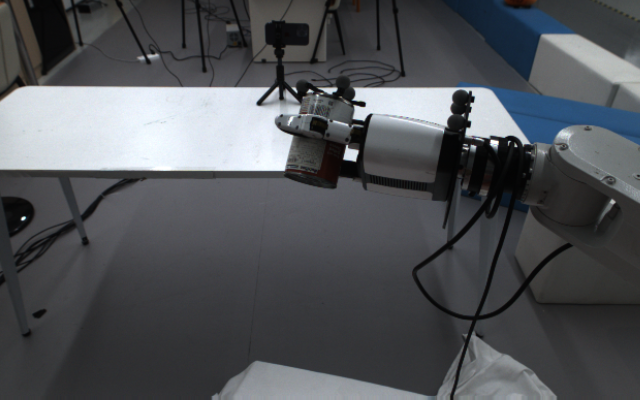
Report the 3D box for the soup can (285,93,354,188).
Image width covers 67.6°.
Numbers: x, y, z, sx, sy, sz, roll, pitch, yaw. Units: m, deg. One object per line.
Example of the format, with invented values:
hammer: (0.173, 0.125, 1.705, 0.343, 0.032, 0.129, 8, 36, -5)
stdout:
soup can: (0.001, -0.071, 0.591, 0.067, 0.101, 0.067, 13, -6, 1)
